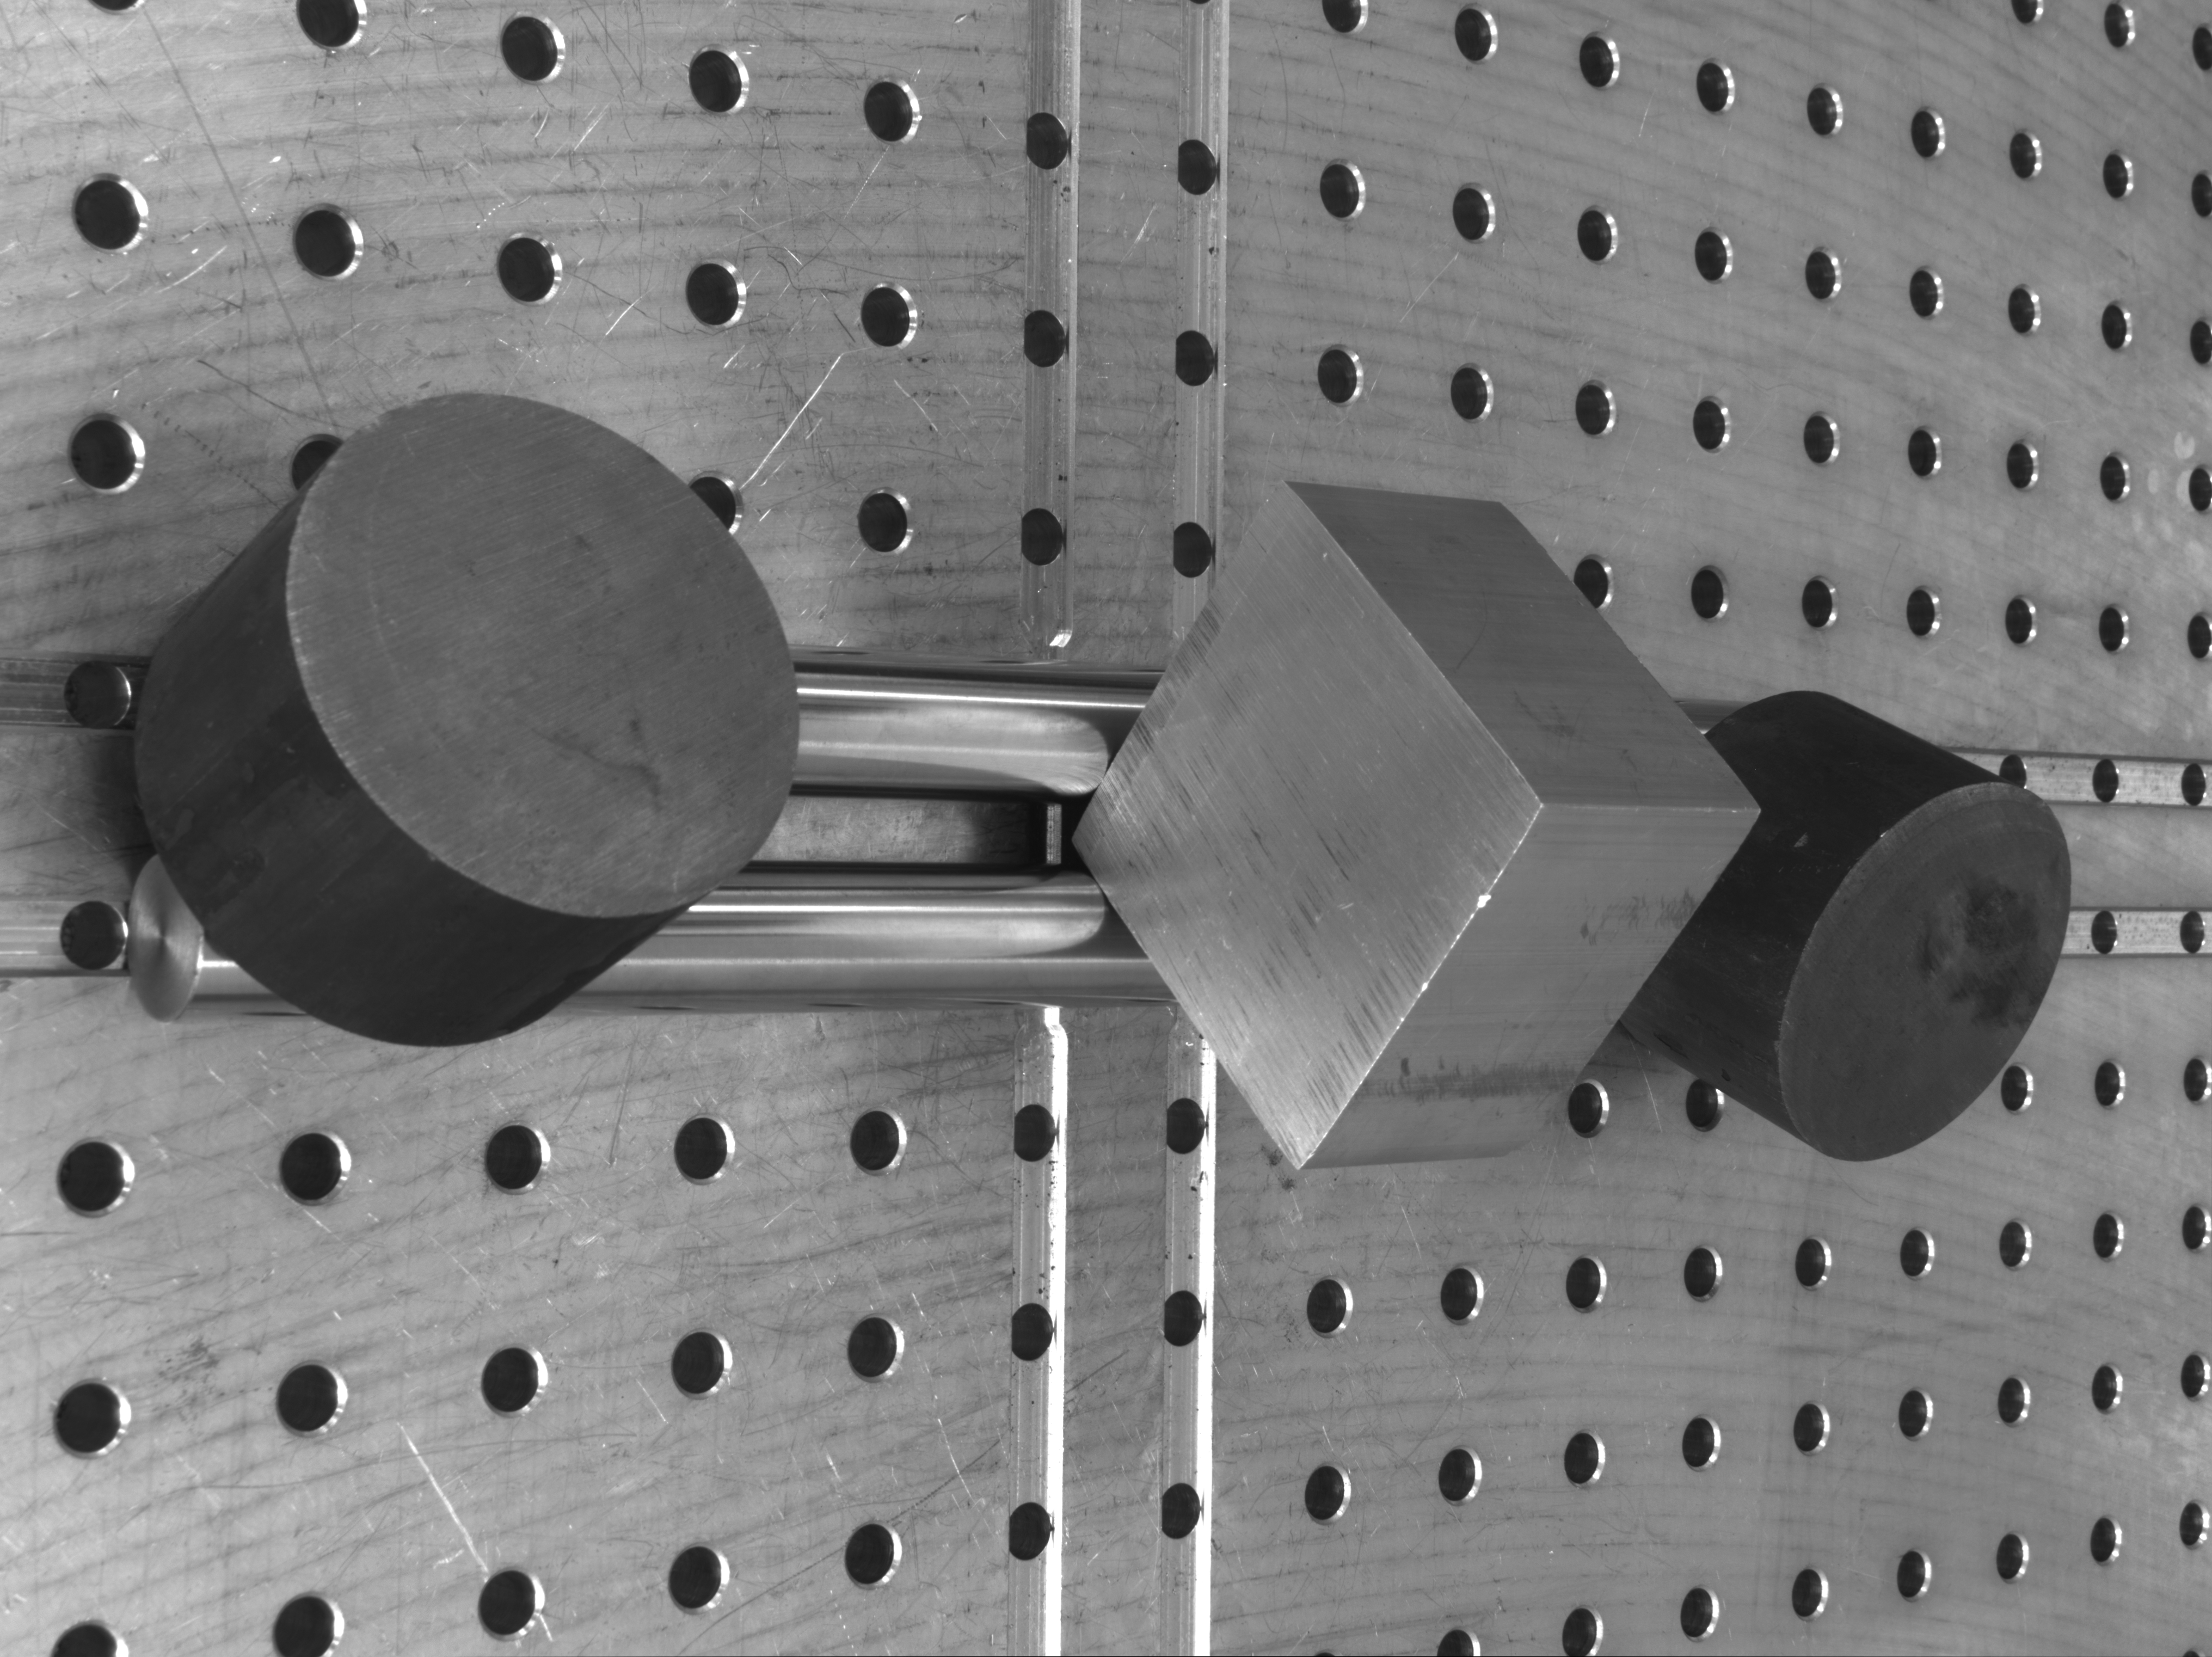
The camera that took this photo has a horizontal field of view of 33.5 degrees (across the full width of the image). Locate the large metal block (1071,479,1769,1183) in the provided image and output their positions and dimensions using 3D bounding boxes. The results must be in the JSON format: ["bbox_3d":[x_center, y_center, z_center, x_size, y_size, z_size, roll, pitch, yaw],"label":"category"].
[{"bbox_3d":[0.049,0.000,0.606,0.050,0.080,0.080,1,131,-40],"label":"large metal block"}]

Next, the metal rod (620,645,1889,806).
[{"bbox_3d":[0.039,-0.016,0.671,0.301,0.025,0.025,1,89,-40],"label":"metal rod"}]

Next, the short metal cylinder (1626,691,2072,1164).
[{"bbox_3d":[0.144,0.019,0.725,0.080,0.050,0.080,-18,123,-31],"label":"short metal cylinder"}]

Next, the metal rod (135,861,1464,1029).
[{"bbox_3d":[-0.018,0.018,0.623,0.301,0.025,0.025,1,89,-40],"label":"metal rod"}]

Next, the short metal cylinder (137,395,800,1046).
[{"bbox_3d":[-0.091,-0.015,0.529,0.080,0.050,0.080,20,55,-31],"label":"short metal cylinder"}]
